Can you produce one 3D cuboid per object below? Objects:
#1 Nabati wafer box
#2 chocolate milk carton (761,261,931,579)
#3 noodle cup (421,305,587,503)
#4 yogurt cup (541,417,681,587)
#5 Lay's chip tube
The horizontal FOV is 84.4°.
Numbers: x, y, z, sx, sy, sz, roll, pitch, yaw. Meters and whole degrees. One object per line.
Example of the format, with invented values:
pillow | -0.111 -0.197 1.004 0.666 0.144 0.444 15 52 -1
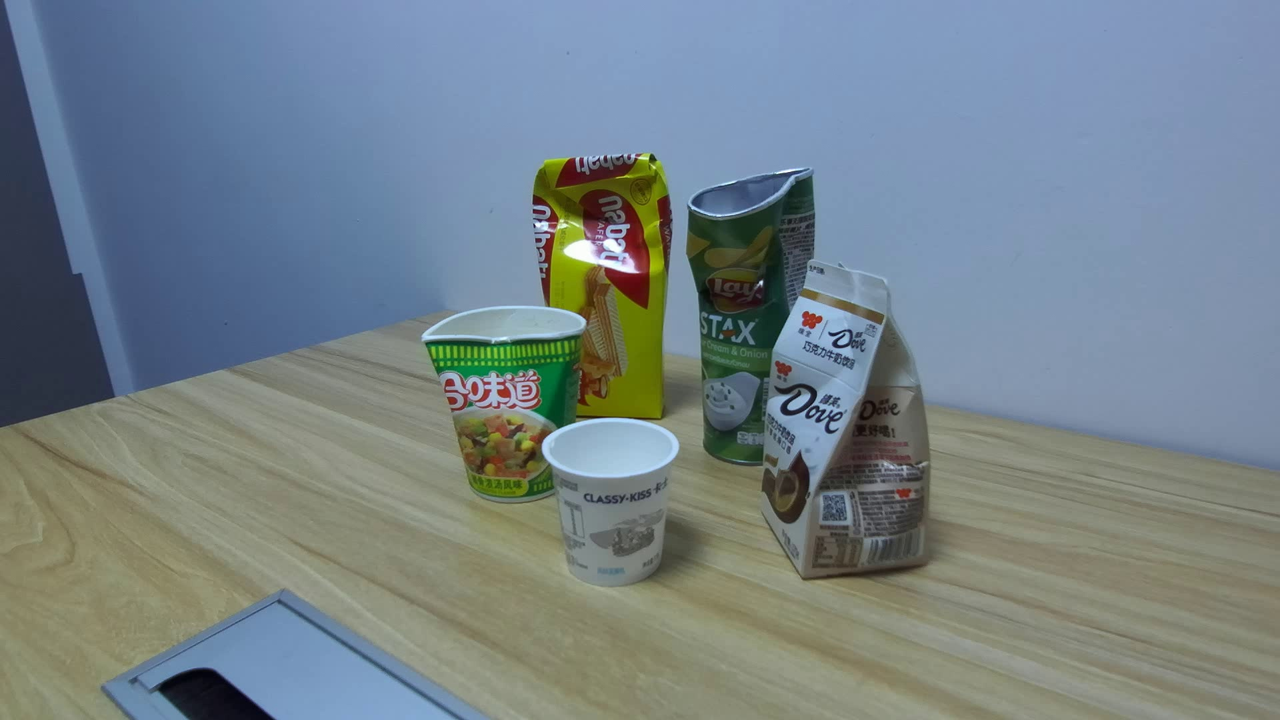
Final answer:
Nabati wafer box | -0.027 -0.055 0.561 0.113 0.205 0.042 0 16 6
chocolate milk carton | 0.112 0.029 0.377 0.073 0.155 0.084 -4 19 -7
noodle cup | -0.079 0.028 0.466 0.093 0.109 0.087 6 19 19
yogurt cup | -0.014 0.076 0.377 0.072 0.068 0.072 -1 19 1
Lay's chip tube | 0.076 -0.024 0.482 0.079 0.199 0.071 3 25 17
